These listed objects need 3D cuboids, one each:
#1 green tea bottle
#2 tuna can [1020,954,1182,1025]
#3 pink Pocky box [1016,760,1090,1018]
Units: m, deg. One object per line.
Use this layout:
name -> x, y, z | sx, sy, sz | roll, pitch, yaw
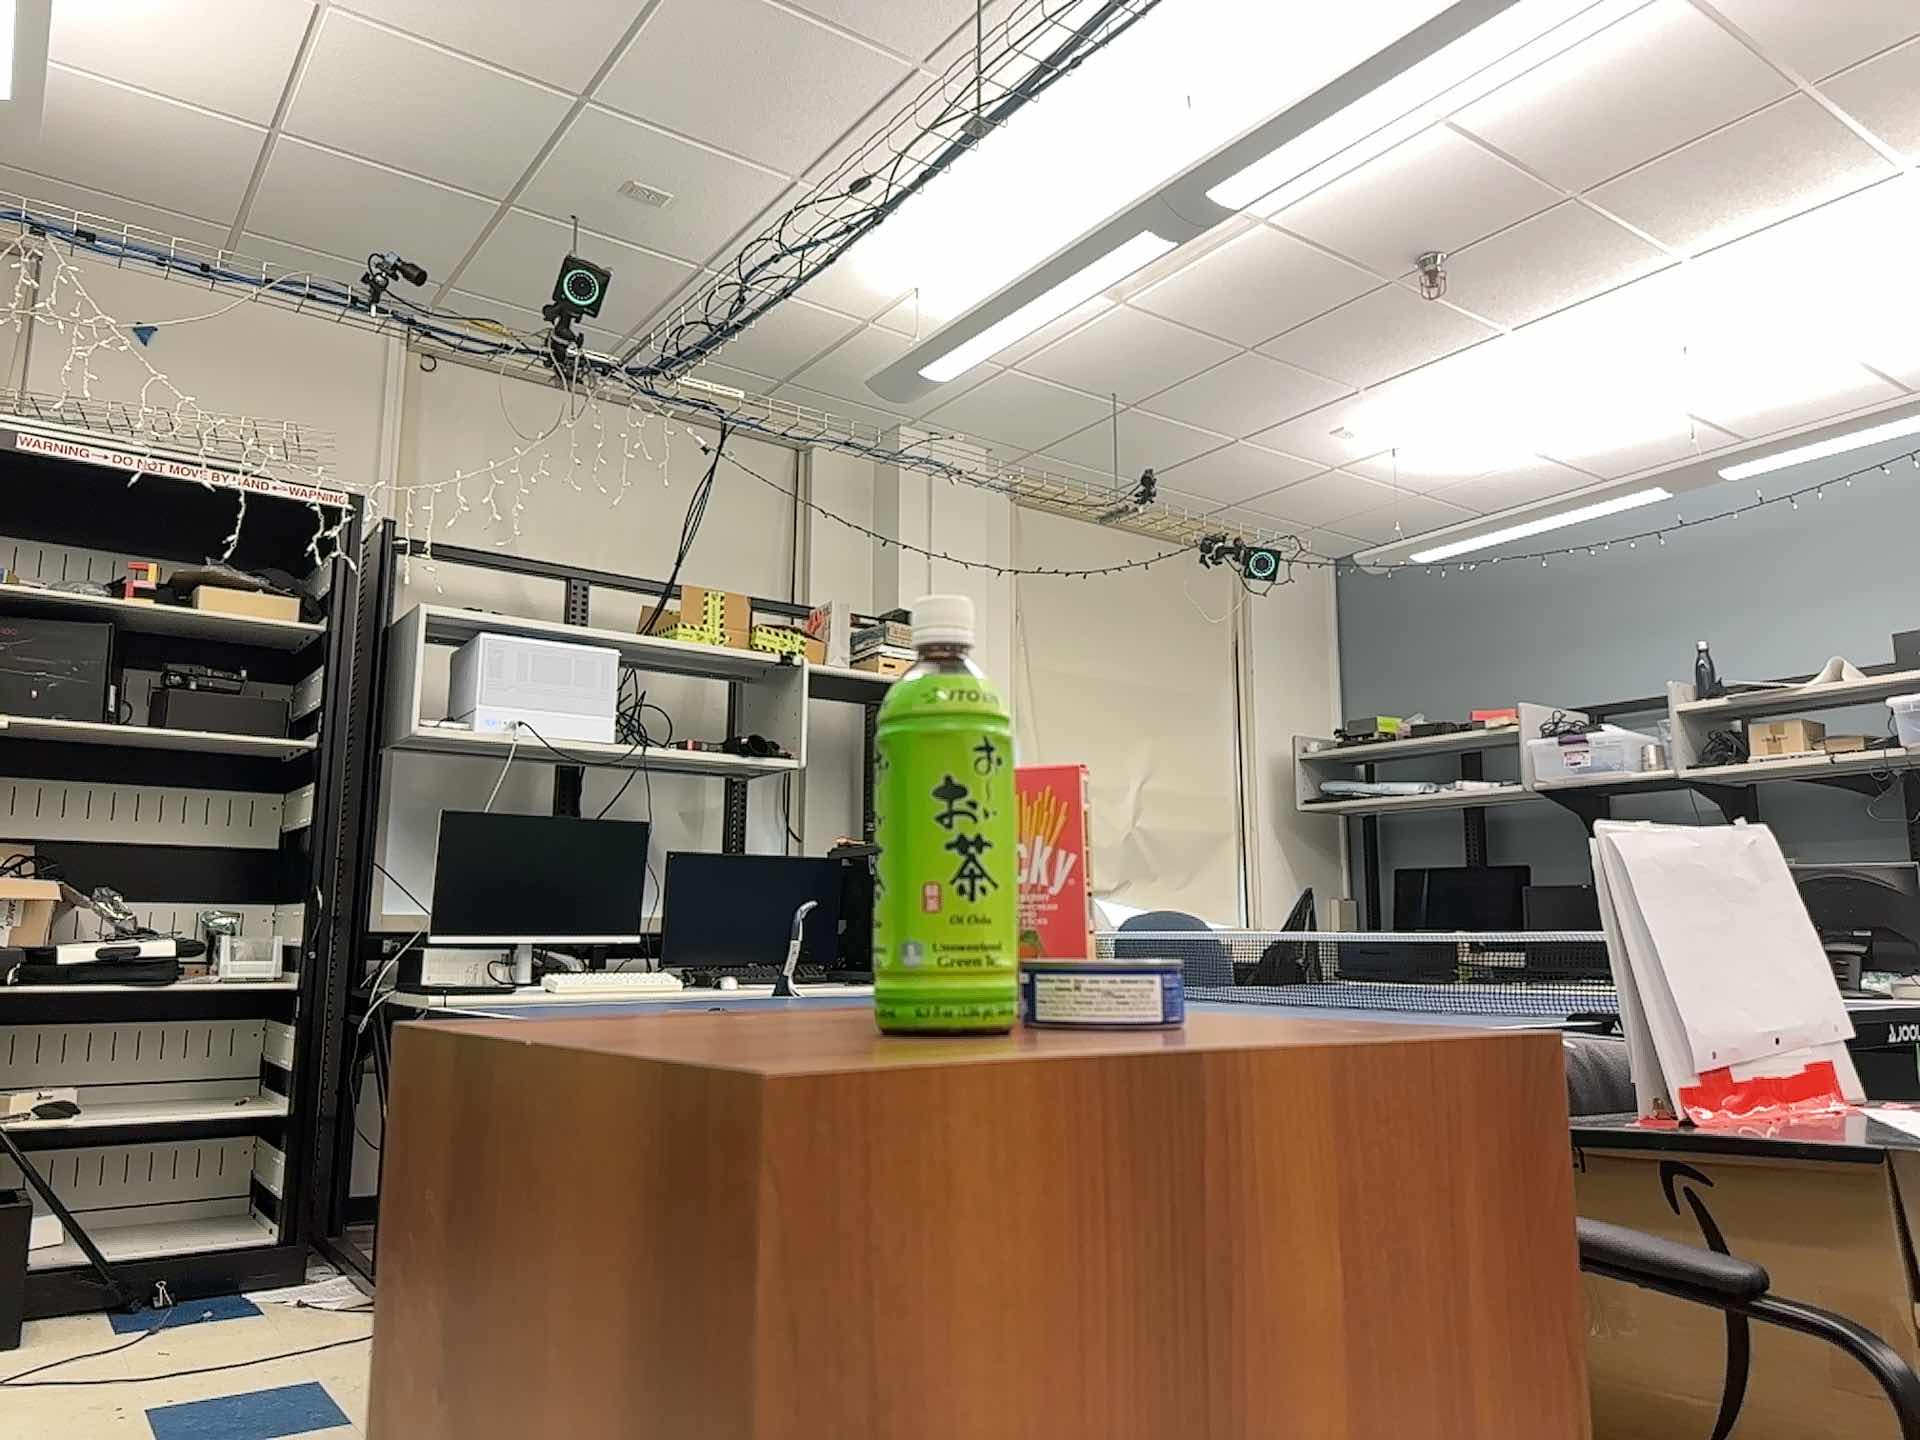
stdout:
green tea bottle -> -0.007, 0.045, 0.655 | 0.073, 0.212, 0.073 | -2, -10, 0
tuna can -> 0.074, 0.141, 0.708 | 0.083, 0.034, 0.083 | -1, -11, 0
pink Pocky box -> 0.035, 0.104, 0.828 | 0.084, 0.155, 0.029 | -3, -8, 19
